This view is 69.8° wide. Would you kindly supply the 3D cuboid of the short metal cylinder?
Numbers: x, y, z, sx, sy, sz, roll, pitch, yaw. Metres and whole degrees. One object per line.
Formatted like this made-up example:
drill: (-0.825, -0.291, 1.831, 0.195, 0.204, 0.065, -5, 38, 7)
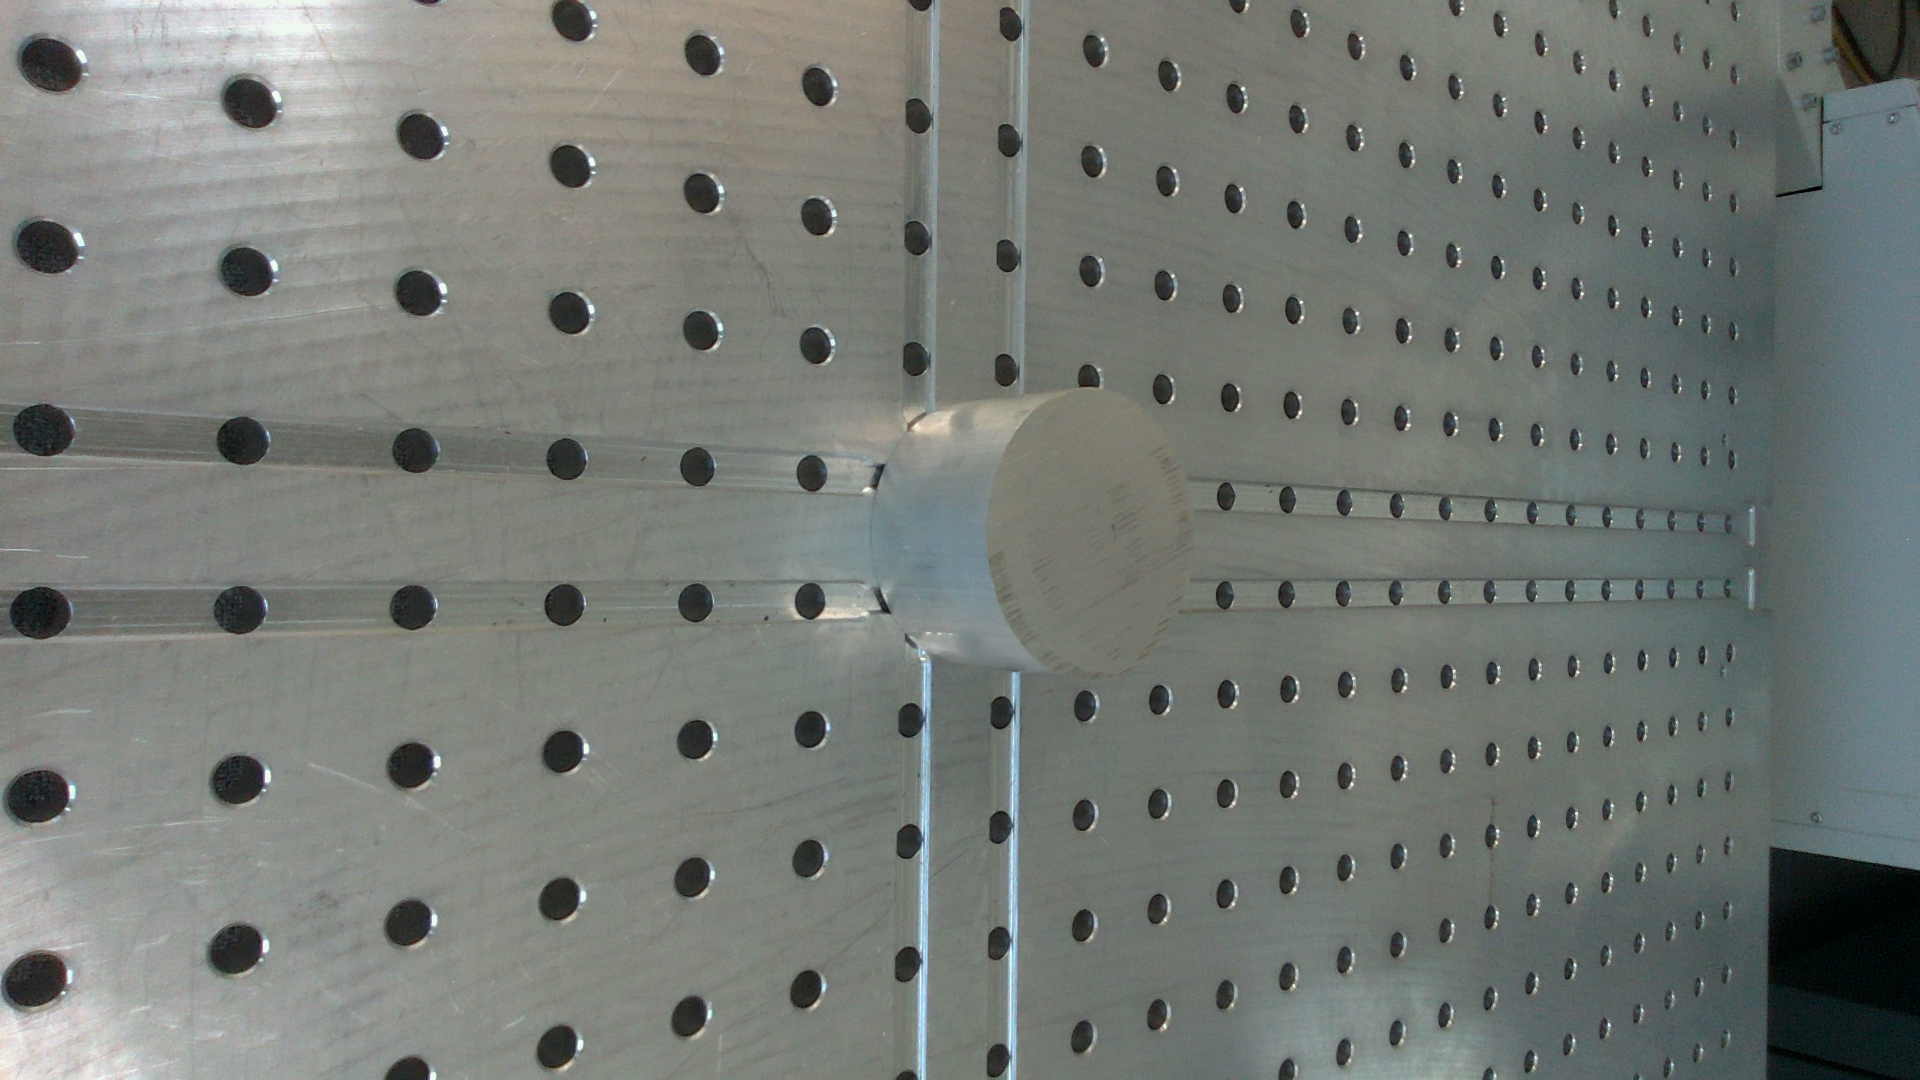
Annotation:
short metal cylinder: (0.021, -0.001, 0.392, 0.080, 0.050, 0.080, 0, 90, -40)
